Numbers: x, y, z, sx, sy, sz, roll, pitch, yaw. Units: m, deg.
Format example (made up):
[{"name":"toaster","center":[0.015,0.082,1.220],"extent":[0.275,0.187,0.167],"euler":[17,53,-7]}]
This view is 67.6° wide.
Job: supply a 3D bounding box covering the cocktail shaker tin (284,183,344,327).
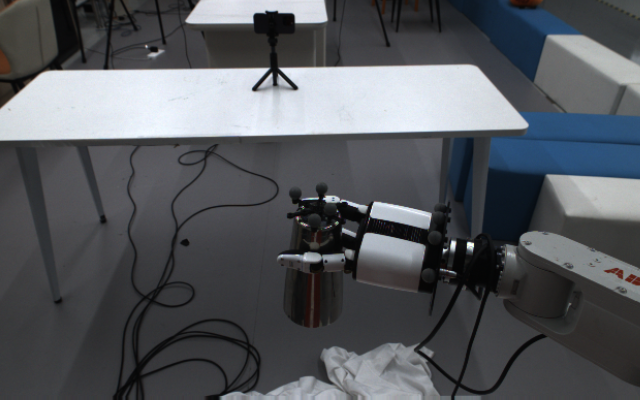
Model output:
[{"name":"cocktail shaker tin","center":[-0.005,0.089,0.705],"extent":[0.093,0.170,0.093],"euler":[2,33,-2]}]
